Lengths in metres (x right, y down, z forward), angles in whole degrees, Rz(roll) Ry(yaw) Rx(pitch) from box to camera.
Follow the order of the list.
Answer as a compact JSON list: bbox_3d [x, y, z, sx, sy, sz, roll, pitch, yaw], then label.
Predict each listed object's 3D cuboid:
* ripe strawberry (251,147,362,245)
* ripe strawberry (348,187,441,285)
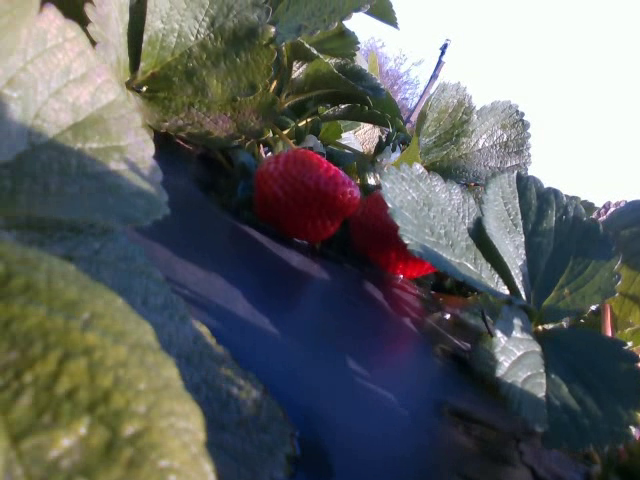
[{"bbox_3d":[-0.003,-0.017,0.216,0.043,0.037,0.051,-24,29,-38],"label":"ripe strawberry"},{"bbox_3d":[0.041,-0.001,0.246,0.052,0.046,0.057,-13,19,-36],"label":"ripe strawberry"}]
